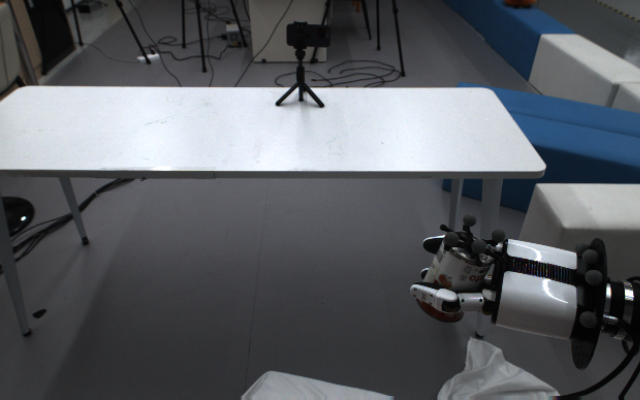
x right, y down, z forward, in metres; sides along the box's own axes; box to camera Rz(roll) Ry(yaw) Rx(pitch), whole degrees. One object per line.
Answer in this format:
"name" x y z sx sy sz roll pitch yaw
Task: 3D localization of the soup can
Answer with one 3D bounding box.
"soup can" 0.176 0.099 0.632 0.067 0.101 0.067 13 31 -8
